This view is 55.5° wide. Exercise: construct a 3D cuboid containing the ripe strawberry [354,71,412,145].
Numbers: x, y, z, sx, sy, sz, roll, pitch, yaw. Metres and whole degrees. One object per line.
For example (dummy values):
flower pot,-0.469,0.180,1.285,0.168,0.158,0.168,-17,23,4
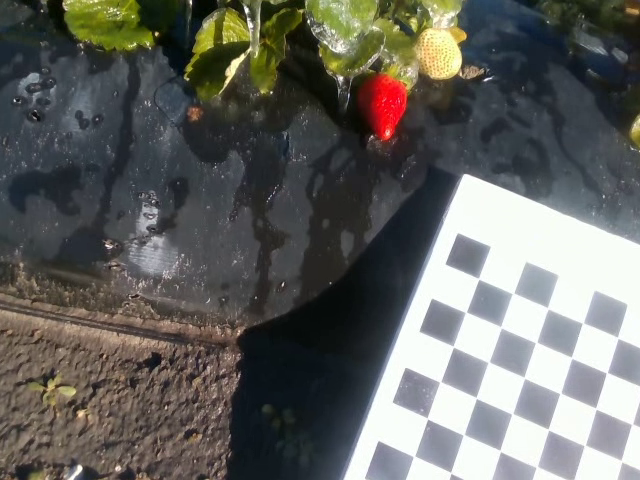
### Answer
ripe strawberry,0.047,-0.095,0.421,0.041,0.052,0.040,7,-21,-2
